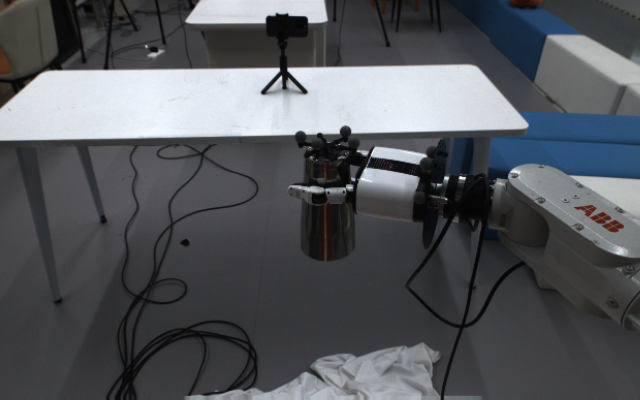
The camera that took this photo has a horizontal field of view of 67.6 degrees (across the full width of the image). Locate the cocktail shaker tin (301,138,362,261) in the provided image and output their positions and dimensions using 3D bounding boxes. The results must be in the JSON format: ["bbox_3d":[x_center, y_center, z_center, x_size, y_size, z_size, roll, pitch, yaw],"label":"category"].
[{"bbox_3d":[0.015,-0.003,0.759,0.093,0.170,0.093,-1,32,1],"label":"cocktail shaker tin"}]
